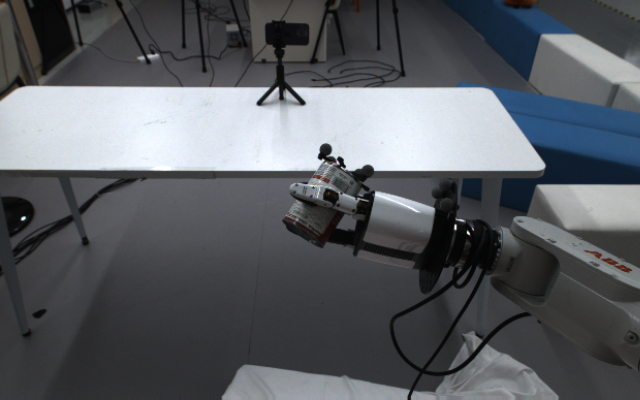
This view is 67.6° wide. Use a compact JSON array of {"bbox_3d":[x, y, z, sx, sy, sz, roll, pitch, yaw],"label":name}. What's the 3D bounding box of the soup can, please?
[{"bbox_3d":[0.004,0.005,0.667,0.067,0.067,0.101,26,75,31],"label":"soup can"}]
